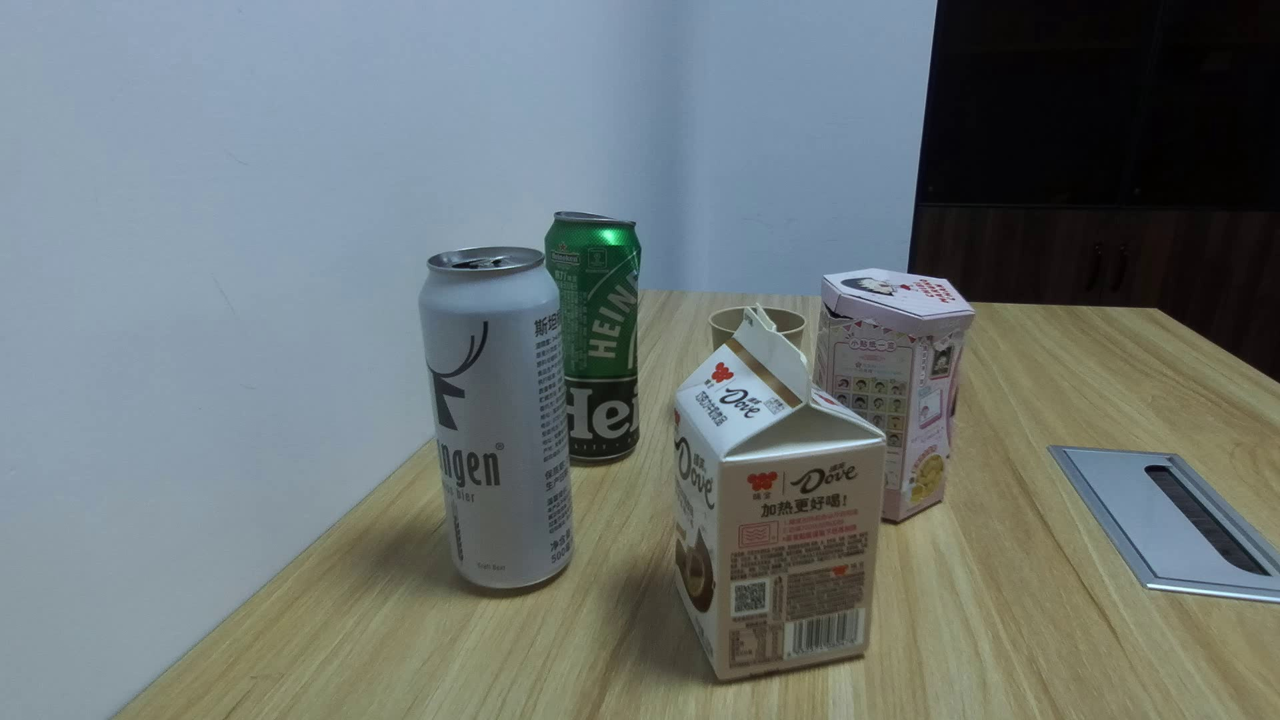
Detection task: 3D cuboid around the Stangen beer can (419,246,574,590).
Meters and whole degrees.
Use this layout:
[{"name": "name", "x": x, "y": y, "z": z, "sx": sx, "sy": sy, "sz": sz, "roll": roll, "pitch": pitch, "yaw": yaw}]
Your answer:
[{"name": "Stangen beer can", "x": -0.070, "y": 0.031, "z": 0.361, "sx": 0.067, "sy": 0.171, "sz": 0.067, "roll": -1, "pitch": 19, "yaw": 1}]

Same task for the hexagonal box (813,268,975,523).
[{"name": "hexagonal box", "x": 0.146, "y": 0.019, "z": 0.432, "sx": 0.085, "sy": 0.135, "sz": 0.092, "roll": -1, "pitch": 20, "yaw": -1}]

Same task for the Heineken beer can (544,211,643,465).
[{"name": "Heineken beer can", "x": -0.031, "y": -0.014, "z": 0.491, "sx": 0.069, "sy": 0.168, "sz": 0.068, "roll": 5, "pitch": 15, "yaw": 11}]

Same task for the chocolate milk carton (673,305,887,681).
[{"name": "chocolate milk carton", "x": 0.065, "y": 0.066, "z": 0.347, "sx": 0.074, "sy": 0.148, "sz": 0.075, "roll": -4, "pitch": 11, "yaw": -12}]

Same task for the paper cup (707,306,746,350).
[{"name": "paper cup", "x": 0.088, "y": 0.009, "z": 0.533, "sx": 0.075, "sy": 0.082, "sz": 0.075, "roll": -2, "pitch": 19, "yaw": 1}]
